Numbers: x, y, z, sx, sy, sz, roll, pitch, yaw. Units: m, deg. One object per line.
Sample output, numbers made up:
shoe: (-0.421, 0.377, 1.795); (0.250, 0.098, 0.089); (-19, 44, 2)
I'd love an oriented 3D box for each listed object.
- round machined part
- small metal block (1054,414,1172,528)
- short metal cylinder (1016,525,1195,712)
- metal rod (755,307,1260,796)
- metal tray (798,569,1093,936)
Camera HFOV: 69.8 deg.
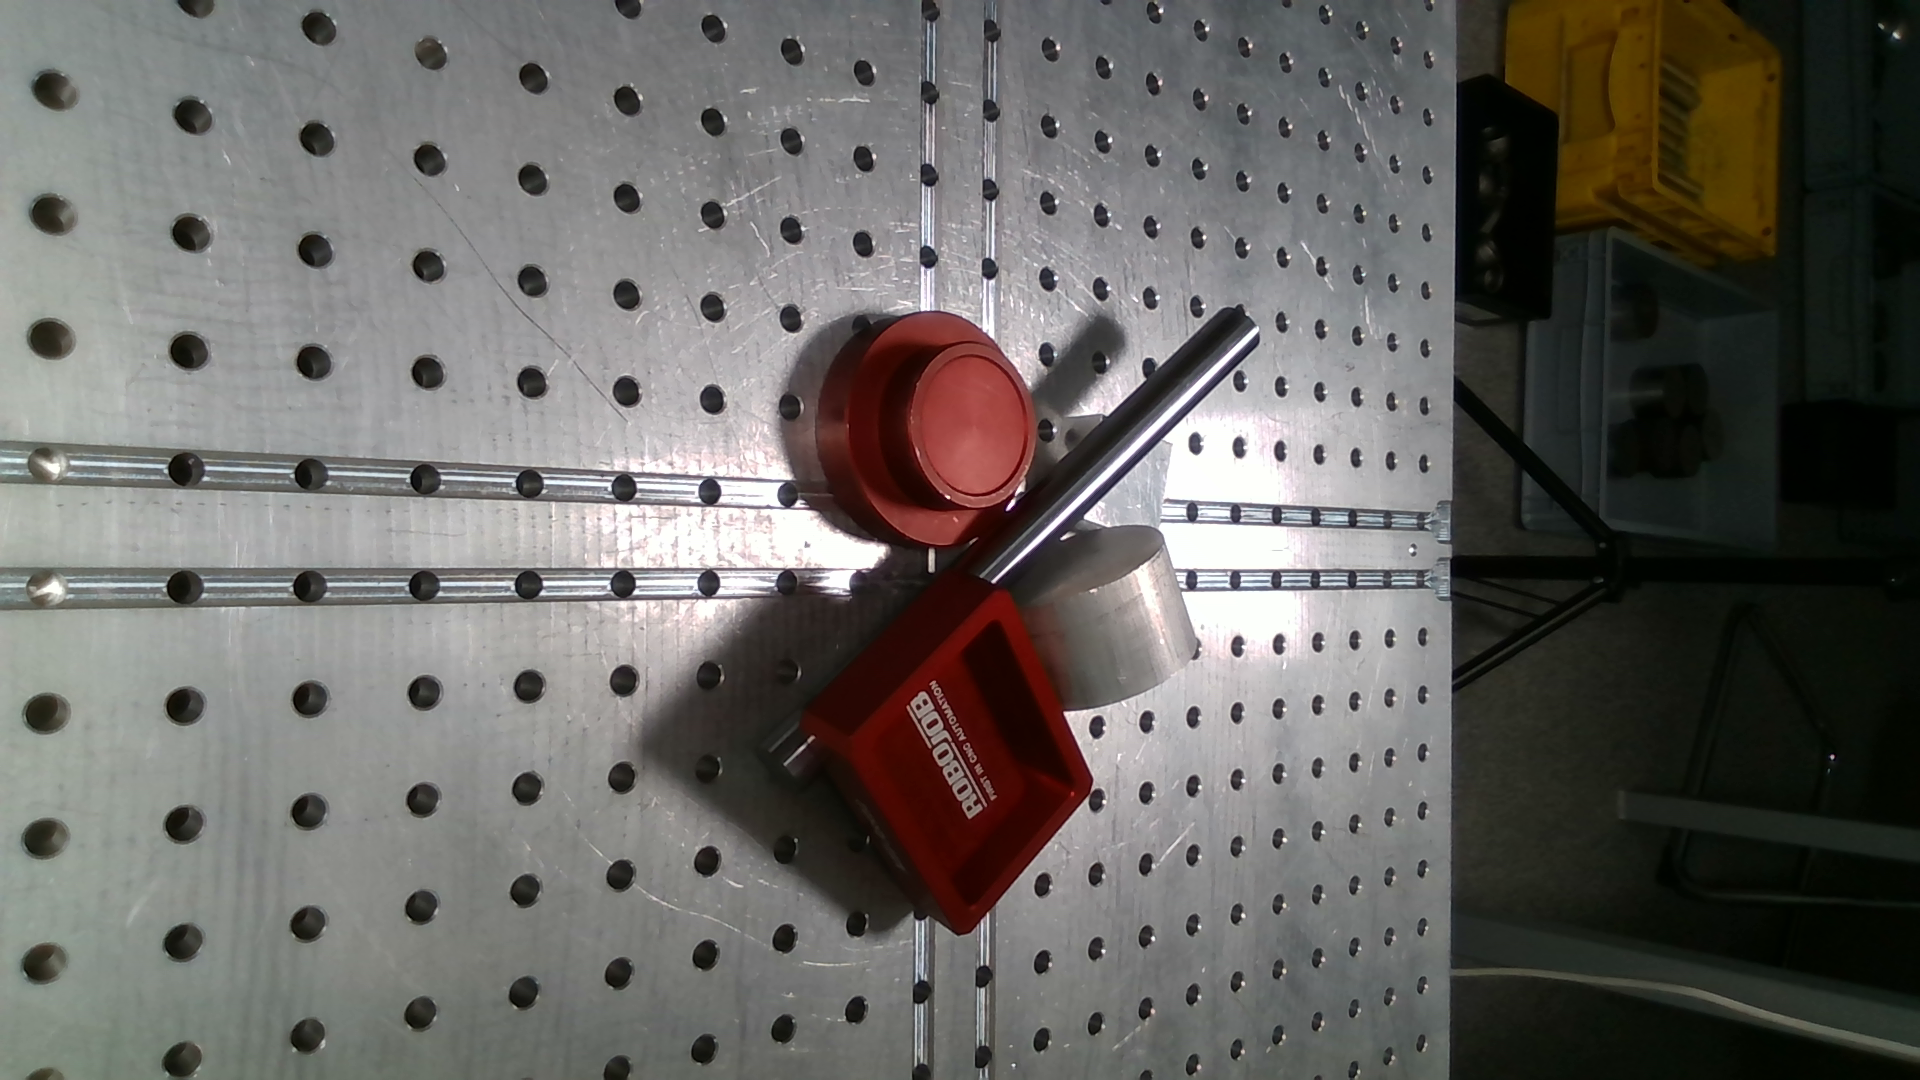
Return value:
round machined part: (-0.007, -0.046, 0.568); (0.098, 0.042, 0.098); (0, 90, -40)
small metal block: (0.070, -0.027, 0.646); (0.050, 0.025, 0.050); (17, 79, -39)
short metal cylinder: (0.057, 0.033, 0.599); (0.080, 0.080, 0.050); (-31, 110, -36)
metal rod: (0.030, -0.005, 0.590); (0.300, 0.025, 0.025); (-43, 116, -23)
metal tray: (-0.001, 0.087, 0.555); (0.090, 0.030, 0.130); (-45, 133, -23)
